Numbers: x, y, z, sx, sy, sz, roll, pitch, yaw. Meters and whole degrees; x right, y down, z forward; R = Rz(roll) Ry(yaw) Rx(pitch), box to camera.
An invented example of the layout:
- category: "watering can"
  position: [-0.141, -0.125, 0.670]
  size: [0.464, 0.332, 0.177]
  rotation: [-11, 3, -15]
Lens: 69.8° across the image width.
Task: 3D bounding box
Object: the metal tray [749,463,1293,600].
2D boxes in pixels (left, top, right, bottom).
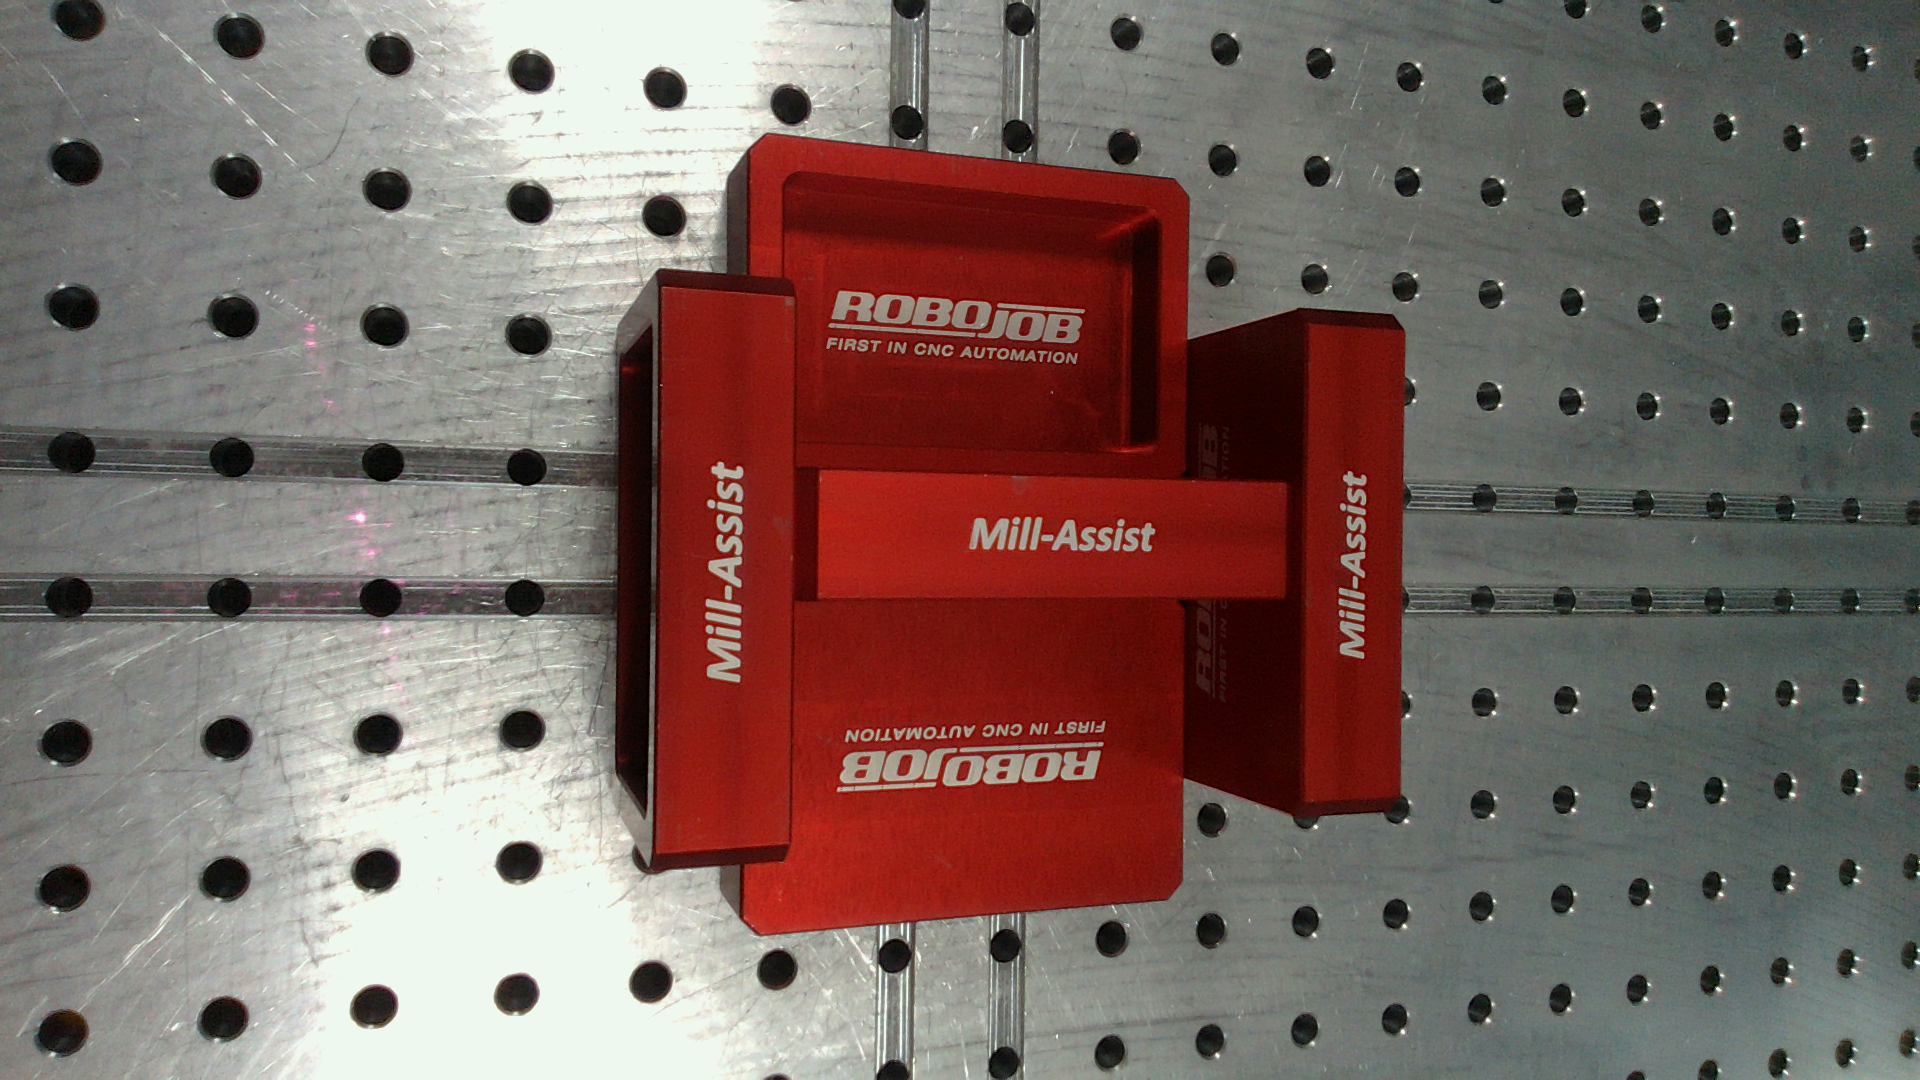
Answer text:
- category: "metal tray"
  position: [0.010, -0.001, 0.363]
  size: [0.130, 0.090, 0.030]
  rotation: [1, 90, -20]

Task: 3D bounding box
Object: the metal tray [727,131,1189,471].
- category: "metal tray"
  position: [0.001, -0.061, 0.393]
  size: [0.130, 0.030, 0.090]
  rotation: [1, 90, -20]

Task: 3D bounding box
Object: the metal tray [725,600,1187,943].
- category: "metal tray"
  position: [0.000, 0.060, 0.392]
  size: [0.130, 0.030, 0.090]
  rotation: [1, 90, -20]

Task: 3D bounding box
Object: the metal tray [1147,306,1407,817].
- category: "metal tray"
  position: [0.086, 0.006, 0.392]
  size: [0.030, 0.090, 0.130]
  rotation: [1, 90, -20]

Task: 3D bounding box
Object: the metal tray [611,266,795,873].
- category: "metal tray"
  position: [-0.066, 0.006, 0.337]
  size: [0.030, 0.090, 0.130]
  rotation: [1, 90, -20]
